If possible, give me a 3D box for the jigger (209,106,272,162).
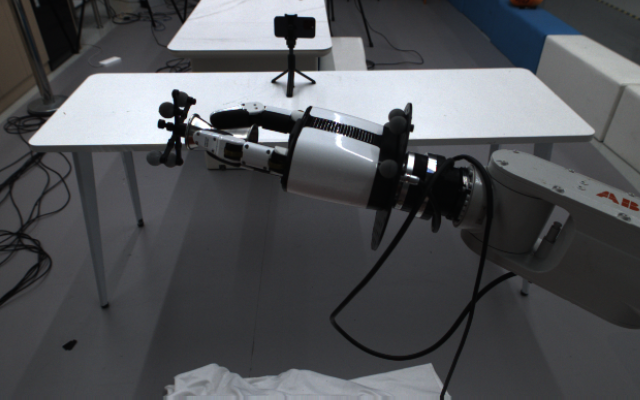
[{"bbox_3d":[-0.098,-0.069,0.521,0.071,0.043,0.043,12,36,5],"label":"jigger"}]
